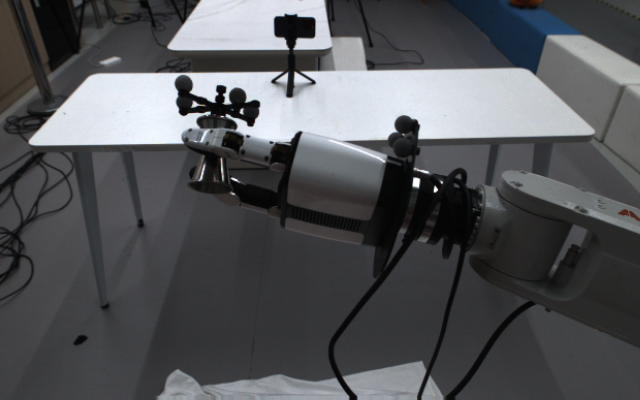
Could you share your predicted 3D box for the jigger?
[{"bbox_3d":[-0.105,-0.045,0.477,0.043,0.043,0.071,2,76,1],"label":"jigger"}]
